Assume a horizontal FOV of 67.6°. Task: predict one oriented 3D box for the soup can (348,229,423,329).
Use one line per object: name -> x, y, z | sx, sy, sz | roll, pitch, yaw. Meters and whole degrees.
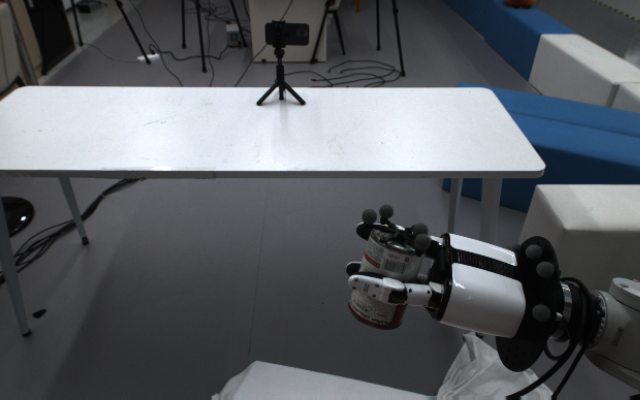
soup can -> 0.080, 0.089, 0.569 | 0.067, 0.101, 0.067 | 13, 18, -4
